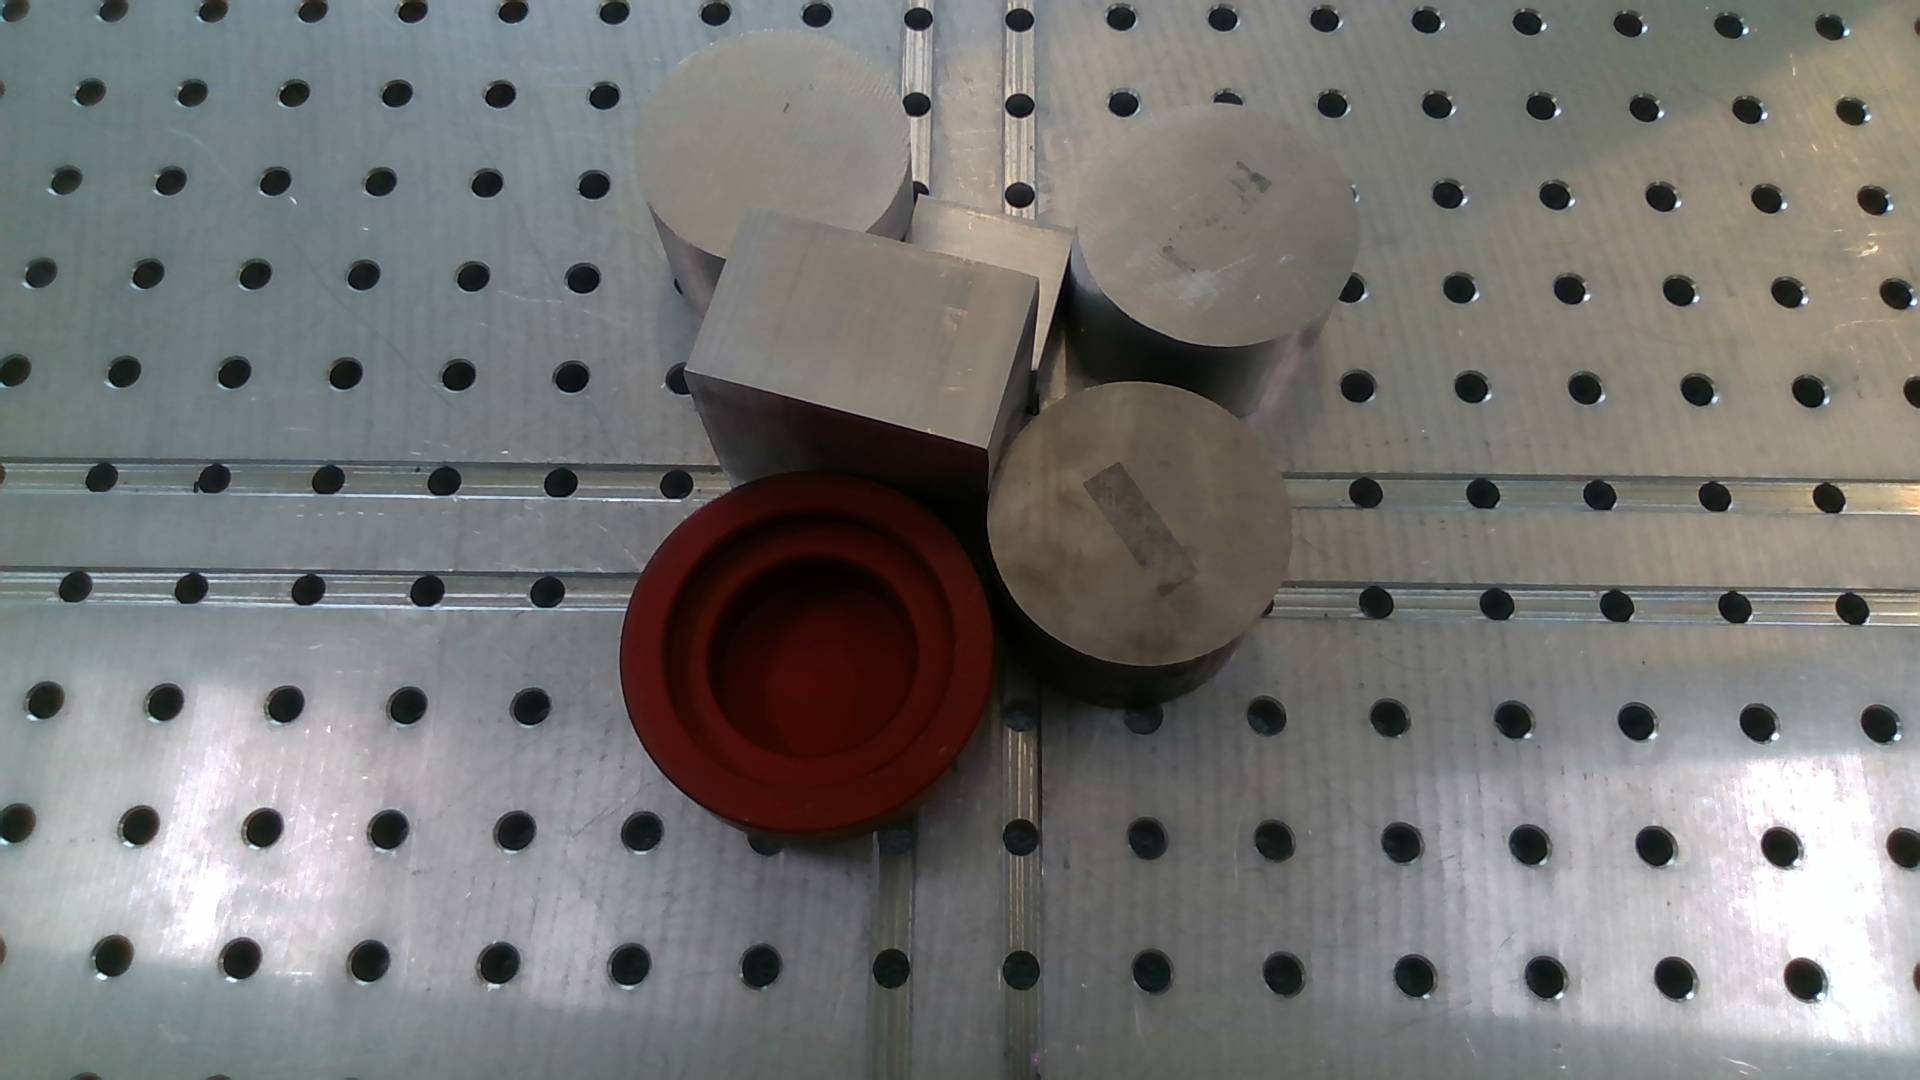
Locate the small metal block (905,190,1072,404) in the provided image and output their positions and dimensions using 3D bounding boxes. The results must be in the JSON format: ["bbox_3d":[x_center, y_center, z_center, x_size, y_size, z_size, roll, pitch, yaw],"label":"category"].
[{"bbox_3d":[0.005,-0.075,0.424,0.050,0.025,0.050,14,71,5],"label":"small metal block"}]

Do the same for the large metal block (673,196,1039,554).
[{"bbox_3d":[-0.025,-0.042,0.381,0.080,0.080,0.050,15,71,5],"label":"large metal block"}]

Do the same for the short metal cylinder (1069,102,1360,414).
[{"bbox_3d":[0.073,-0.082,0.414,0.080,0.050,0.080,0,70,0],"label":"short metal cylinder"}]

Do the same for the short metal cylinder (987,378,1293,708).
[{"bbox_3d":[0.047,0.002,0.384,0.080,0.050,0.080,0,70,0],"label":"short metal cylinder"}]

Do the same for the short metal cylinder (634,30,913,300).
[{"bbox_3d":[-0.054,-0.107,0.423,0.080,0.050,0.080,0,70,0],"label":"short metal cylinder"}]

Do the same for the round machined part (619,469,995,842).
[{"bbox_3d":[-0.040,0.033,0.377,0.098,0.042,0.098,0,70,0],"label":"round machined part"}]
